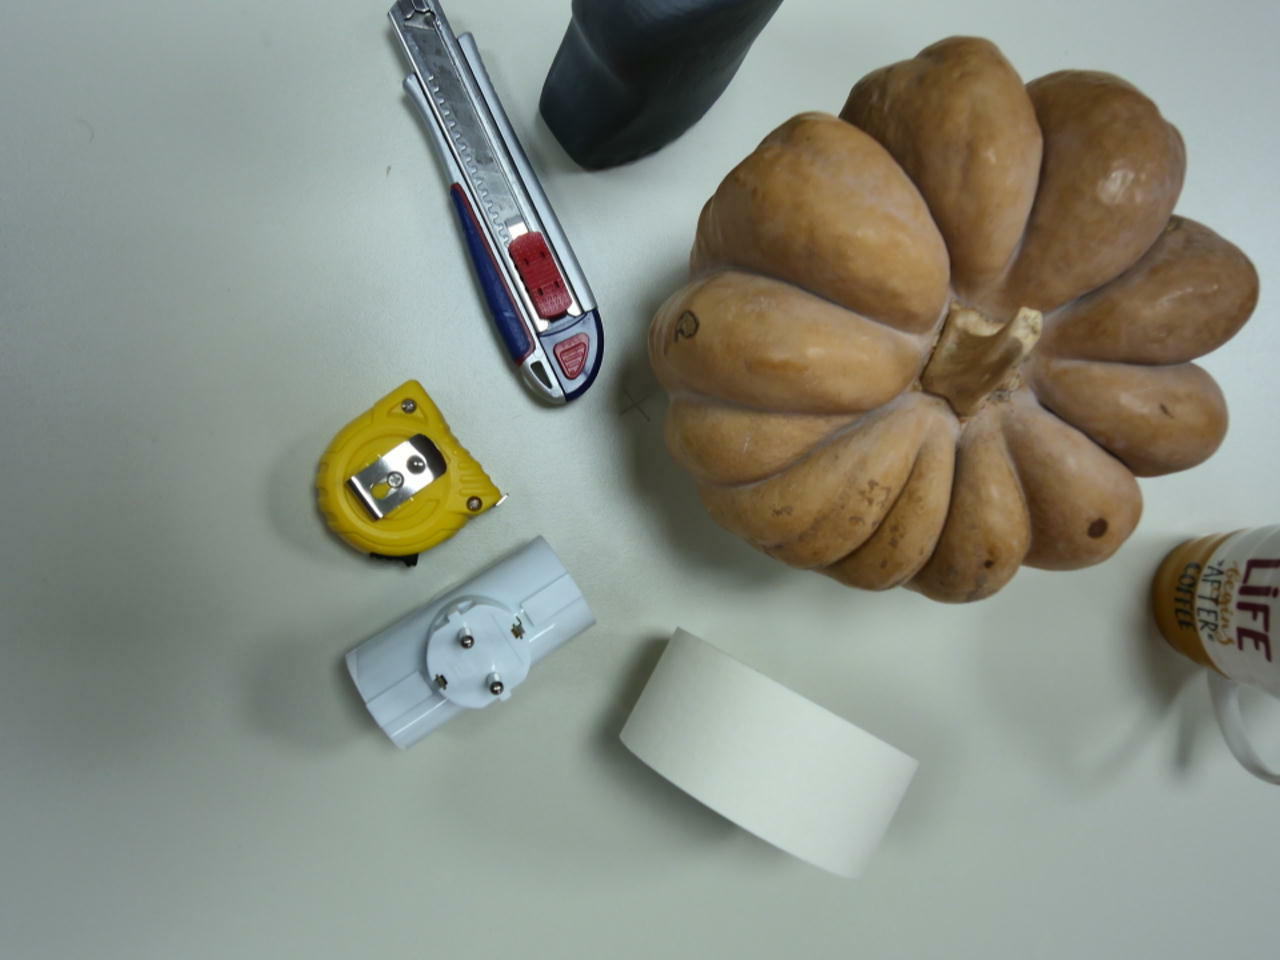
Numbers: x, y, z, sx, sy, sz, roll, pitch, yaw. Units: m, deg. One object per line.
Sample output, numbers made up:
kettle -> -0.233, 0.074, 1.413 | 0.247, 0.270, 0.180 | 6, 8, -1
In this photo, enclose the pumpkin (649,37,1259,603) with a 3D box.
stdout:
pumpkin -> 0.102, -0.050, 0.371 | 0.199, 0.177, 0.198 | 0, 91, -12
